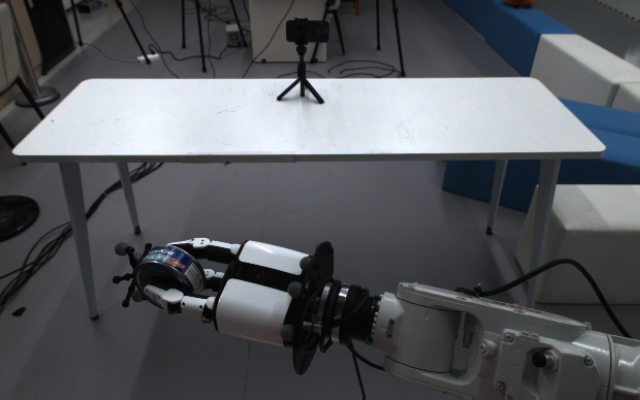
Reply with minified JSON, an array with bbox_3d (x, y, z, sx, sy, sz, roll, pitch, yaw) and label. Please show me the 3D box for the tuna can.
[{"bbox_3d":[-0.189,0.100,0.618,0.085,0.085,0.034,9,34,10],"label":"tuna can"}]
